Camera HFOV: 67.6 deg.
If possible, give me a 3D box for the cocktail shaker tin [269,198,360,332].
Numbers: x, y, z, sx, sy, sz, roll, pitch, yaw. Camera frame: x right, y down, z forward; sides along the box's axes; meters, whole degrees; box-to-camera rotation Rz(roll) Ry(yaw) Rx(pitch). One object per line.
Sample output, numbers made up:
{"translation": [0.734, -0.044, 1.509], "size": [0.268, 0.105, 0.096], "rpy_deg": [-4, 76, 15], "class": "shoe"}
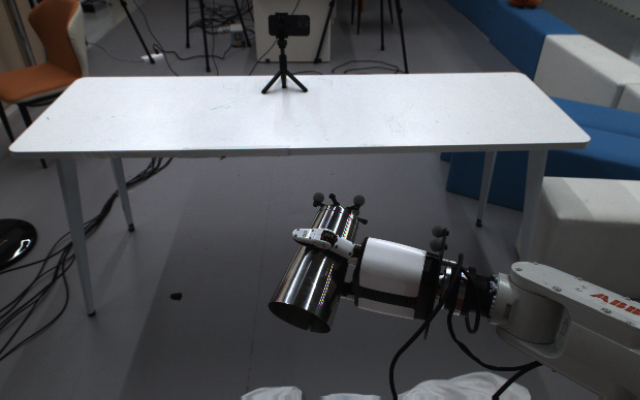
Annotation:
{"translation": [-0.002, 0.092, 0.698], "size": [0.093, 0.093, 0.170], "rpy_deg": [14, 58, 16], "class": "cocktail shaker tin"}
